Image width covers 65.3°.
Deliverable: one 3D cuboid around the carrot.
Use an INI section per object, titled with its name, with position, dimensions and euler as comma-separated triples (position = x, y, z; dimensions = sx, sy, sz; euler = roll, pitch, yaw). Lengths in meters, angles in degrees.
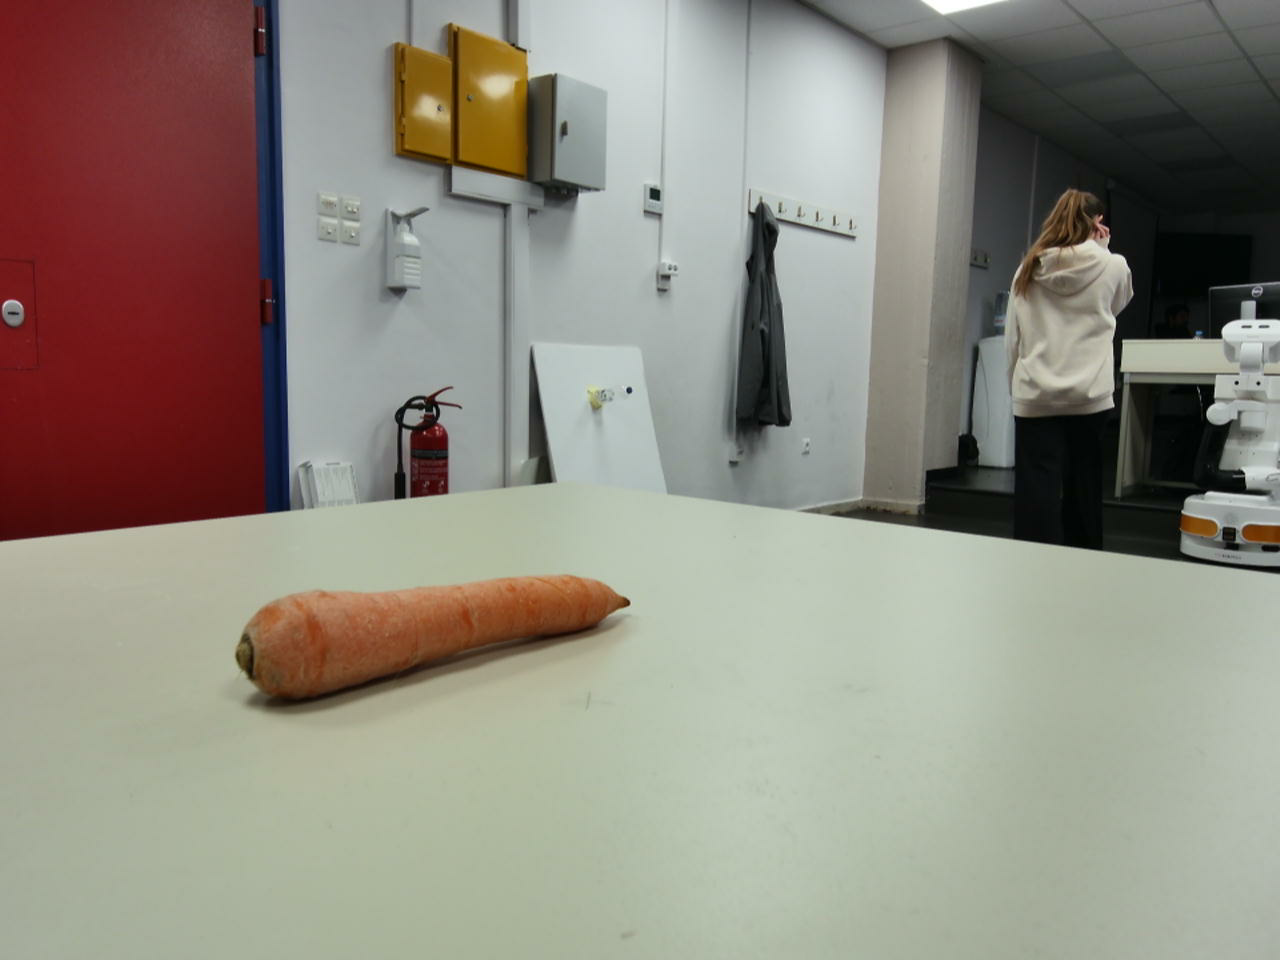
[carrot]
position = -0.074, 0.056, 0.423
dimensions = 0.039, 0.041, 0.196
euler = 4, 7, 41
